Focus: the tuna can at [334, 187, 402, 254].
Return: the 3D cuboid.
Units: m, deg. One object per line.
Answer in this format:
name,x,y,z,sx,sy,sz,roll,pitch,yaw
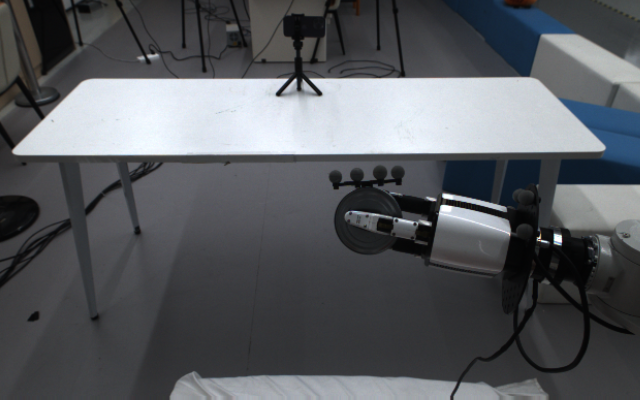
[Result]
tuna can,0.064,0.025,0.618,0.085,0.085,0.034,10,2,12
